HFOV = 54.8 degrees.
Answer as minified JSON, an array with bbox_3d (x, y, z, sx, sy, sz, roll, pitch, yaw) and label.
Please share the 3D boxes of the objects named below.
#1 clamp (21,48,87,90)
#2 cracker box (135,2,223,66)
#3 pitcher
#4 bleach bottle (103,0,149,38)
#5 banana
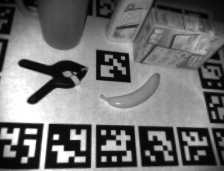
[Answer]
[{"bbox_3d":[-0.149,-0.054,0.580,0.166,0.036,0.121,-9,66,-21],"label":"clamp"},{"bbox_3d":[0.191,-0.141,0.625,0.215,0.164,0.071,7,61,-10],"label":"cracker box"},{"bbox_3d":[-0.133,-0.227,0.526,0.190,0.242,0.132,-11,67,-22],"label":"pitcher"},{"bbox_3d":[0.047,-0.236,0.600,0.103,0.250,0.067,5,63,-11],"label":"bleach bottle"},{"bbox_3d":[0.064,-0.007,0.624,0.199,0.039,0.074,-27,74,-24],"label":"banana"}]
